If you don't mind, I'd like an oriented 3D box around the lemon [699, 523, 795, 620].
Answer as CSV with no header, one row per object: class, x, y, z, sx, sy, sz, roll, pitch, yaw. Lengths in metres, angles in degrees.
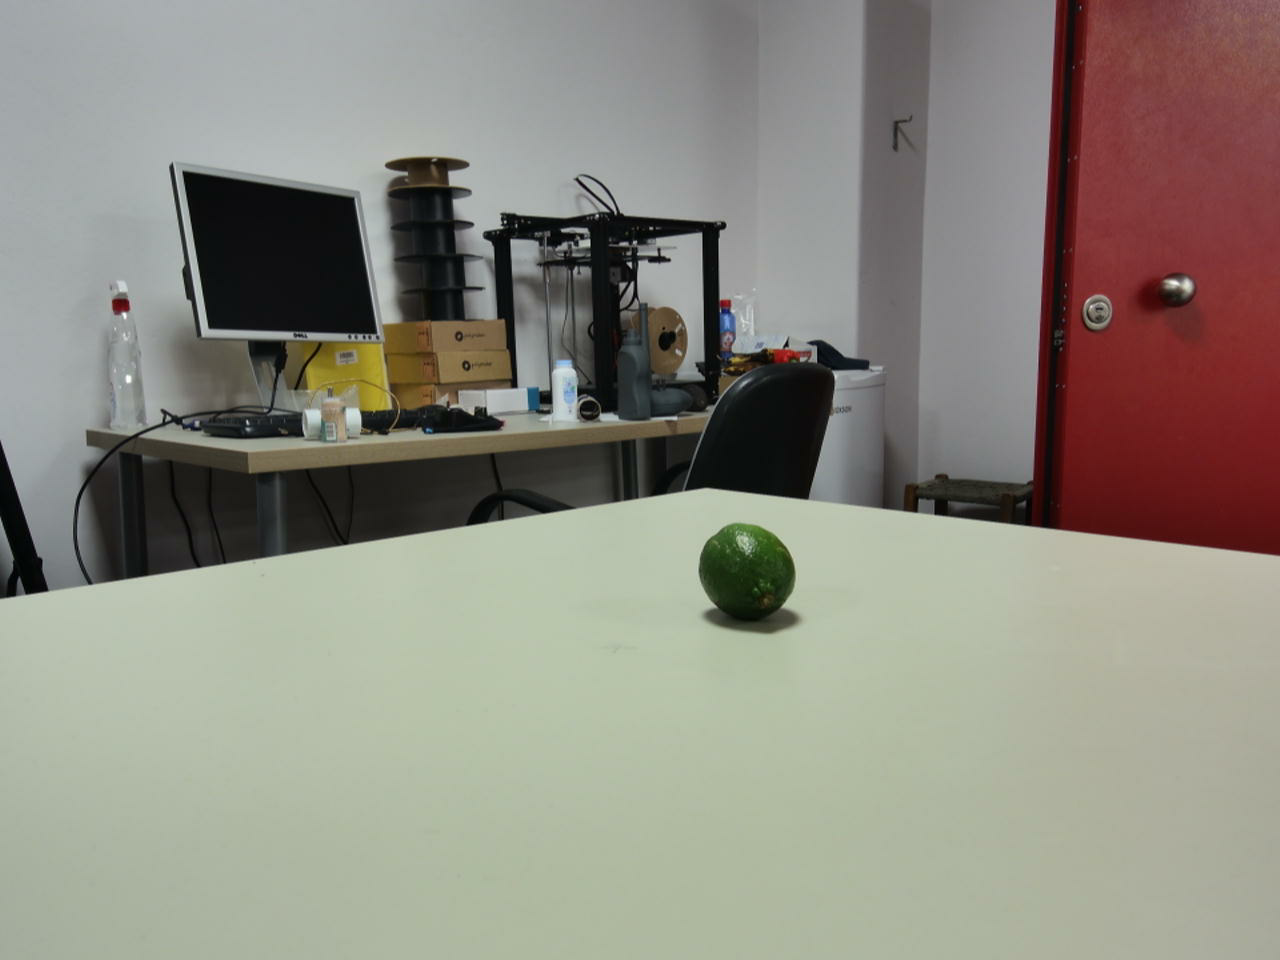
lemon,0.060,0.050,0.555,0.057,0.051,0.054,5,8,44
